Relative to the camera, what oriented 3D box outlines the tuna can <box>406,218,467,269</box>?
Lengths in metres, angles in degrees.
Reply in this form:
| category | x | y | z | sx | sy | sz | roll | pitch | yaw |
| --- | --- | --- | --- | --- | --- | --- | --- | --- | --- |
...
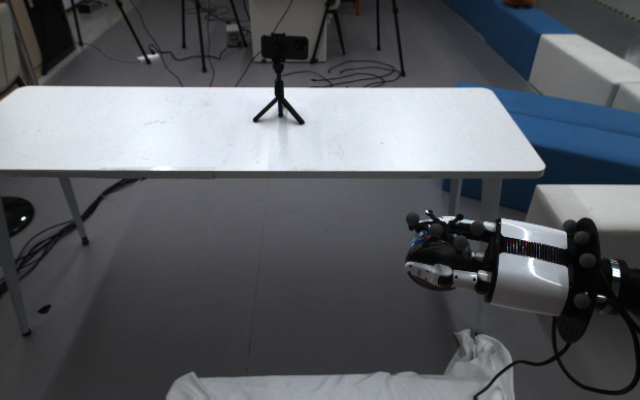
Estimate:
| category | x | y | z | sx | sy | sz | roll | pitch | yaw |
| --- | --- | --- | --- | --- | --- | --- | --- | --- | --- |
| tuna can | 0.160 | 0.075 | 0.645 | 0.085 | 0.085 | 0.034 | 10 | 34 | 11 |
